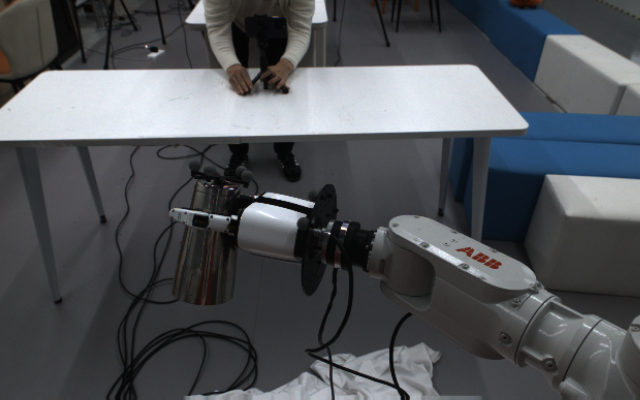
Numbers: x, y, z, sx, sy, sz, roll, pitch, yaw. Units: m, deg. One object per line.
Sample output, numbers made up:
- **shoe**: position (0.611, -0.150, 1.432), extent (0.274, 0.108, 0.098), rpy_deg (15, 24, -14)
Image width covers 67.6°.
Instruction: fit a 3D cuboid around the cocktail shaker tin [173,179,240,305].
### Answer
- **cocktail shaker tin**: position (-0.159, 0.056, 0.717), extent (0.093, 0.170, 0.093), rpy_deg (10, 10, -2)
